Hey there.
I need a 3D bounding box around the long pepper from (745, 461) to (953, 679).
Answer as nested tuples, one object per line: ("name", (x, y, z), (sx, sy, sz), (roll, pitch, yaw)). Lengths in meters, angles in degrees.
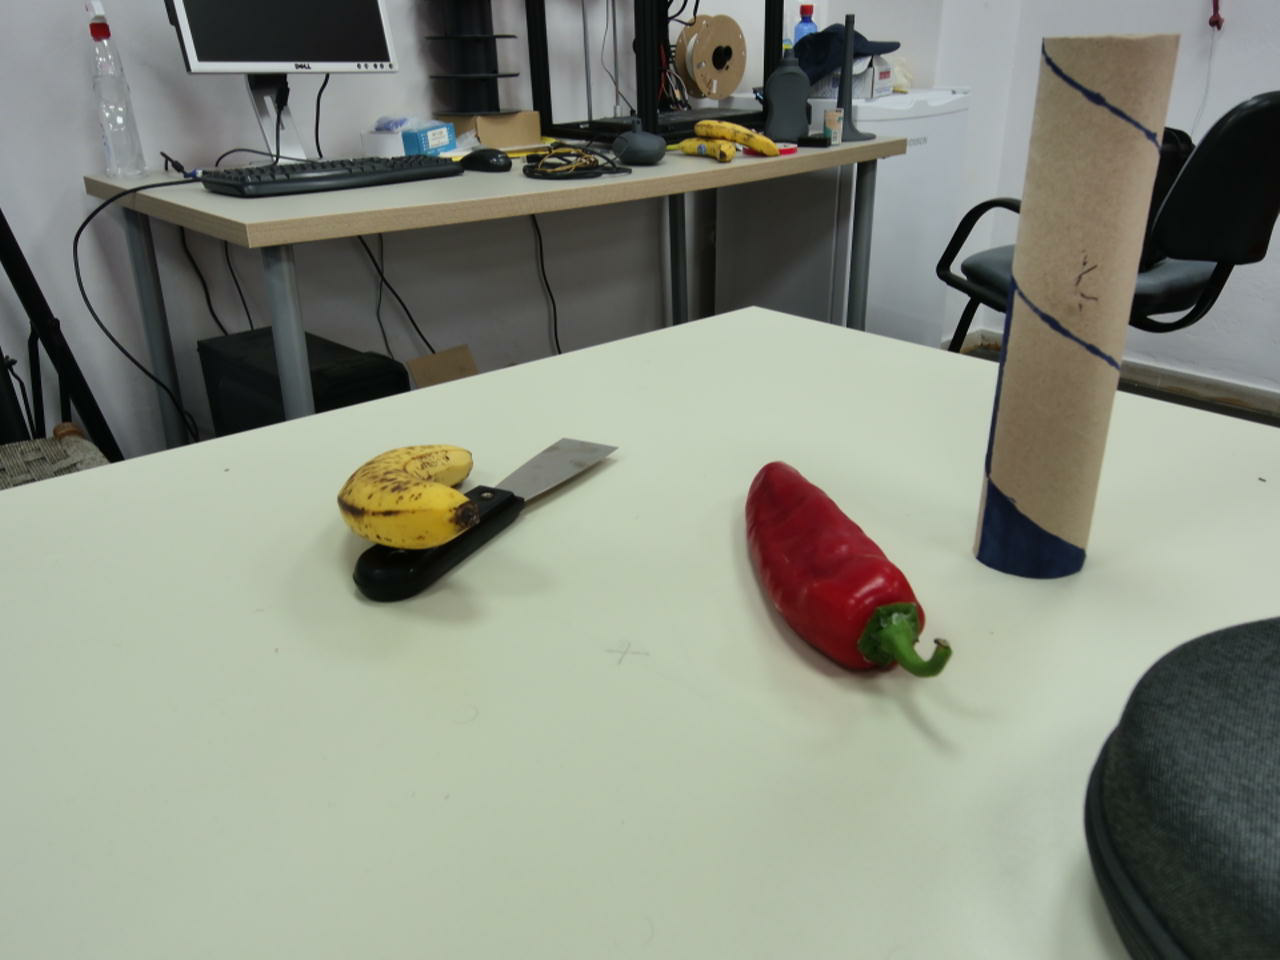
("long pepper", (0.079, 0.032, 0.437), (0.050, 0.043, 0.211), (-3, 22, -7))
